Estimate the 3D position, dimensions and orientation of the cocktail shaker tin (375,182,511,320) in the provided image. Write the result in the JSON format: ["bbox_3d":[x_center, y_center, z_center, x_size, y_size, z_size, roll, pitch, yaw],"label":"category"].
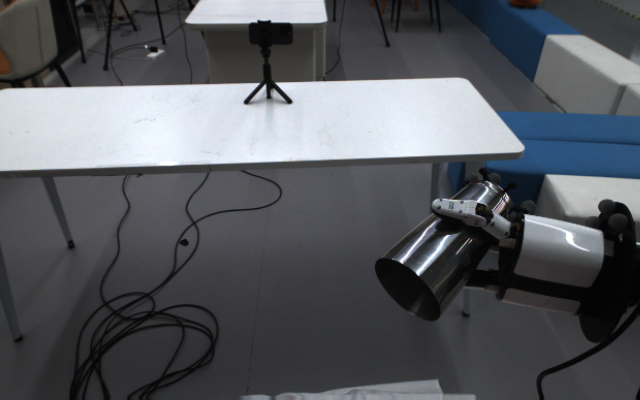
[{"bbox_3d":[0.155,0.046,0.575,0.170,0.093,0.093,-38,49,-24],"label":"cocktail shaker tin"}]
